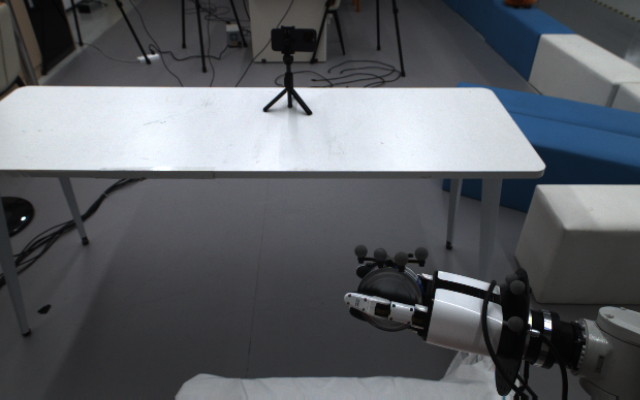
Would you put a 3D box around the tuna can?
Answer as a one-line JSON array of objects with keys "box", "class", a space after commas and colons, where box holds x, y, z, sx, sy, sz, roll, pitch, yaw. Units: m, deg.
[{"box": [0.096, 0.125, 0.638, 0.085, 0.085, 0.034, 15, 10, 18], "class": "tuna can"}]
